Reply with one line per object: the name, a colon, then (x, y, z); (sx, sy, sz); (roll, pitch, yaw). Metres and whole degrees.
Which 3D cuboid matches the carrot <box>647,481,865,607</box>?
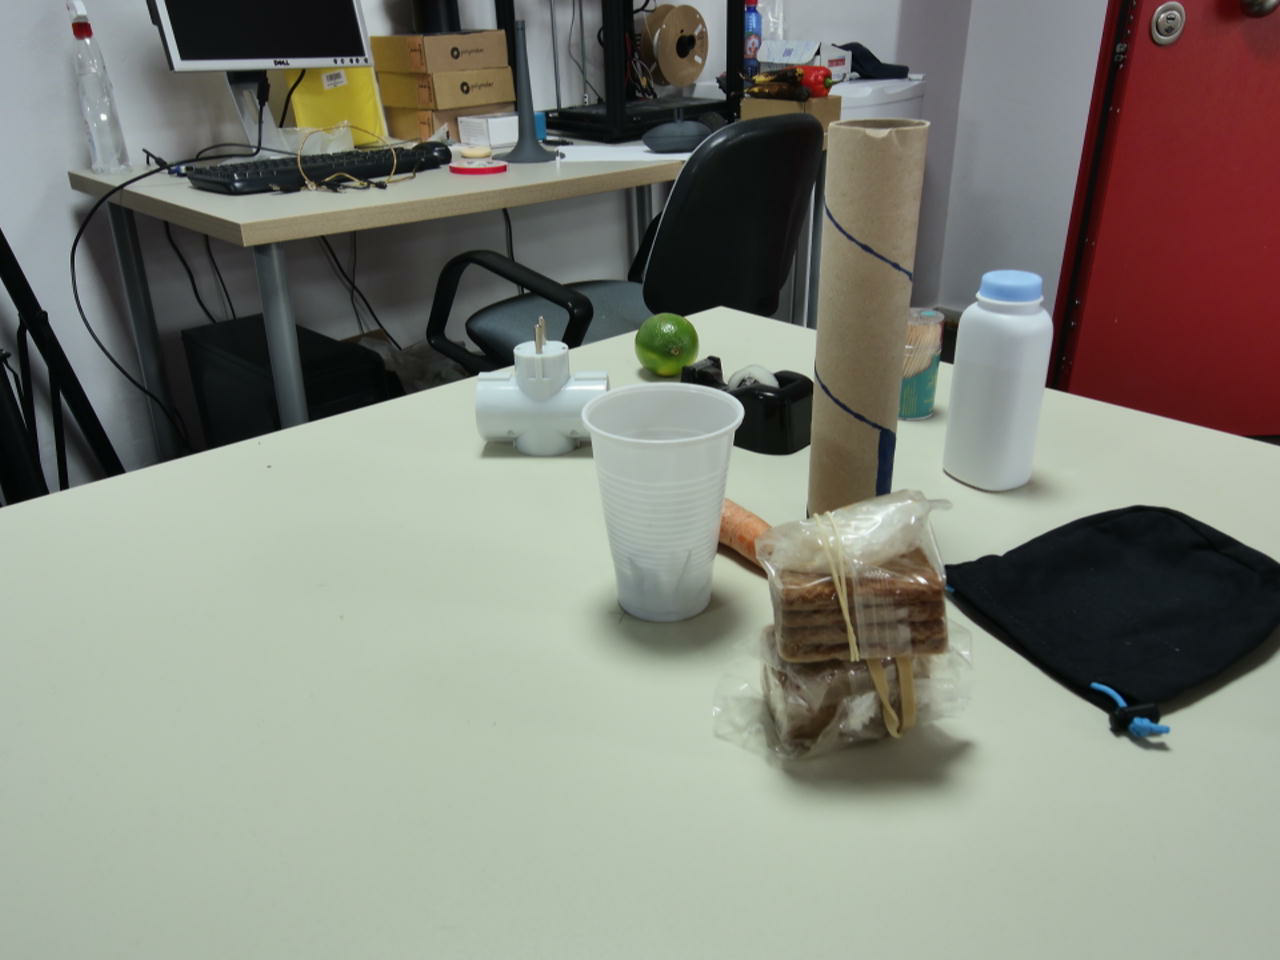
carrot: (0.062, 0.031, 0.558); (0.031, 0.029, 0.163); (-19, 31, -38)
